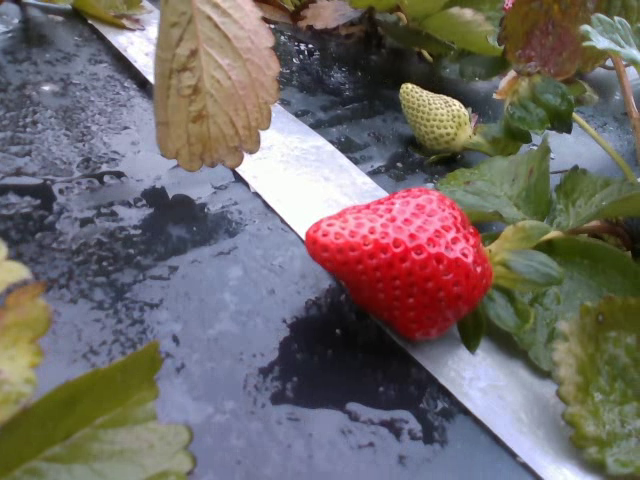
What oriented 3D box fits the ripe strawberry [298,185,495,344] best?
[{"bbox_3d":[0.015,0.003,0.136,0.051,0.042,0.037,9,-27,-39],"label":"ripe strawberry"}]
